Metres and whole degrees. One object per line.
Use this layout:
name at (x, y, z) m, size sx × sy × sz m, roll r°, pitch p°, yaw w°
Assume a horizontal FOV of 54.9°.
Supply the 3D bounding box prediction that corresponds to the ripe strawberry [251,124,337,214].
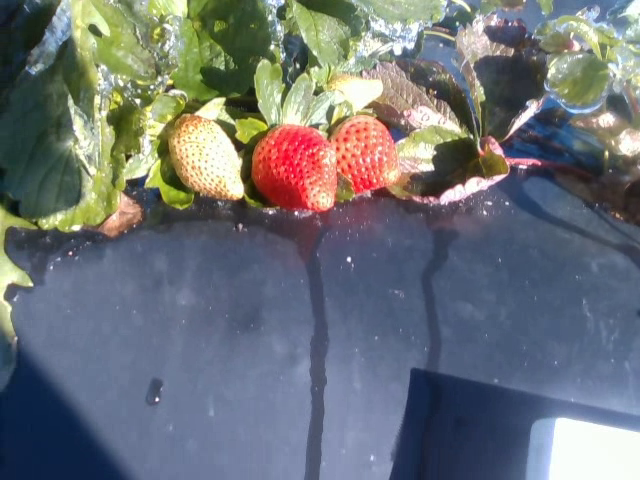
ripe strawberry at (-0.005, -0.023, 0.239) m, size 0.036 × 0.040 × 0.052 m, roll -23°, pitch 35°, yaw -14°

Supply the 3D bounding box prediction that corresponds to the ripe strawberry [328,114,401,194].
ripe strawberry at (0.022, -0.037, 0.265) m, size 0.041 × 0.036 × 0.030 m, roll 36°, pitch -20°, yaw 15°
